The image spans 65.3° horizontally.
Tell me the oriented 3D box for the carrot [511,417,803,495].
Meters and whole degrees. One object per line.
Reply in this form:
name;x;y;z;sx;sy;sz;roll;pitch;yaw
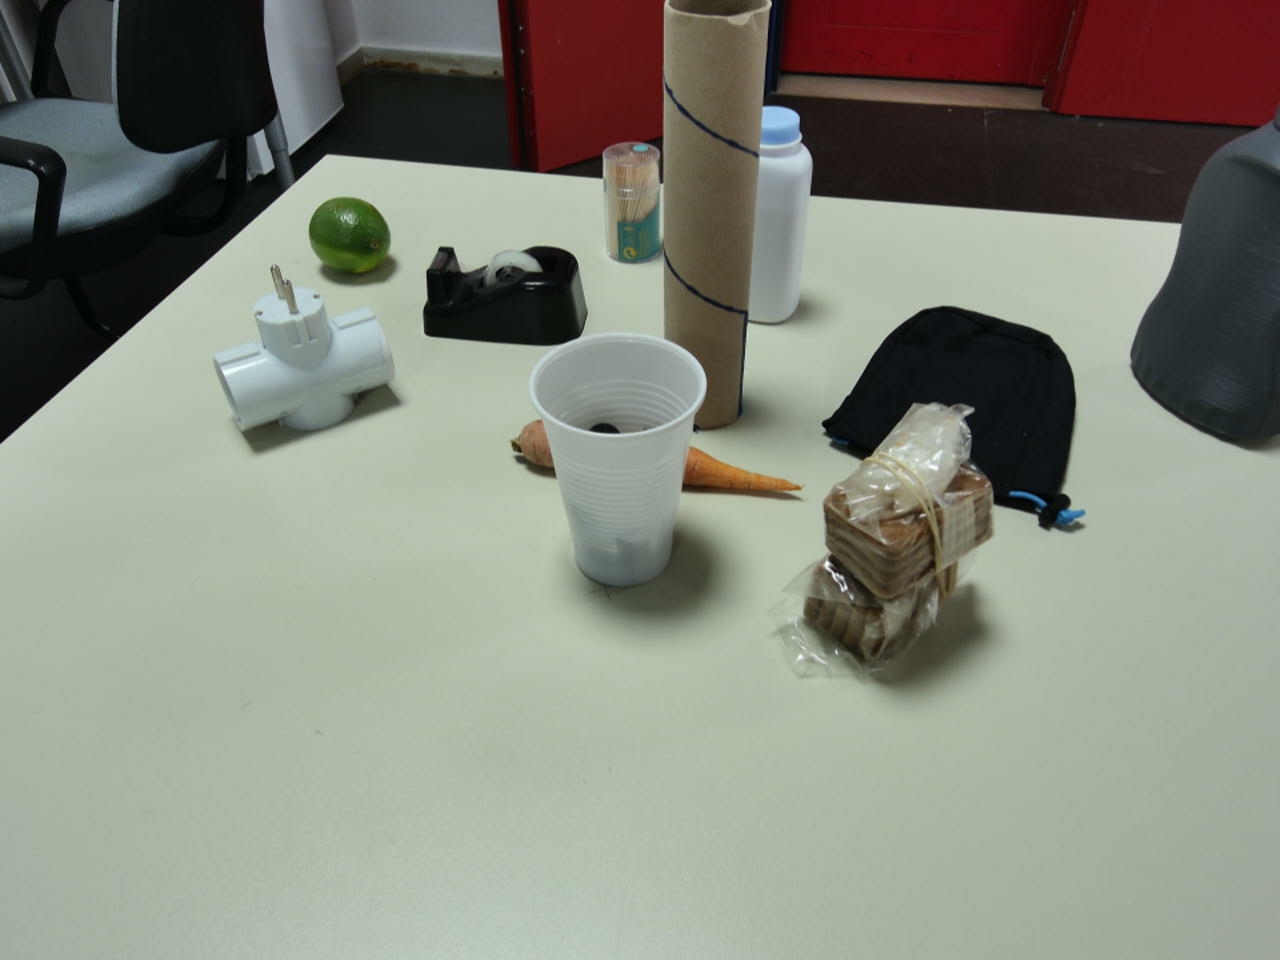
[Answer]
carrot;0.008;-0.013;0.547;0.163;0.029;0.031;8;39;10
